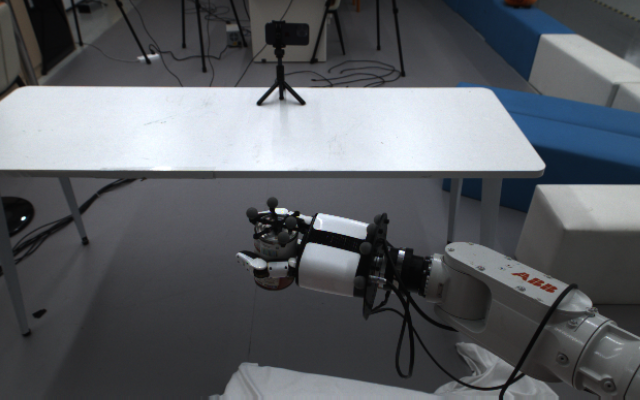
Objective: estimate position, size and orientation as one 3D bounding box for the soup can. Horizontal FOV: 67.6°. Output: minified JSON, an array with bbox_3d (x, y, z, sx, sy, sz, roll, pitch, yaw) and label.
[{"bbox_3d":[-0.068,0.082,0.745,0.067,0.101,0.067,5,37,-4],"label":"soup can"}]
